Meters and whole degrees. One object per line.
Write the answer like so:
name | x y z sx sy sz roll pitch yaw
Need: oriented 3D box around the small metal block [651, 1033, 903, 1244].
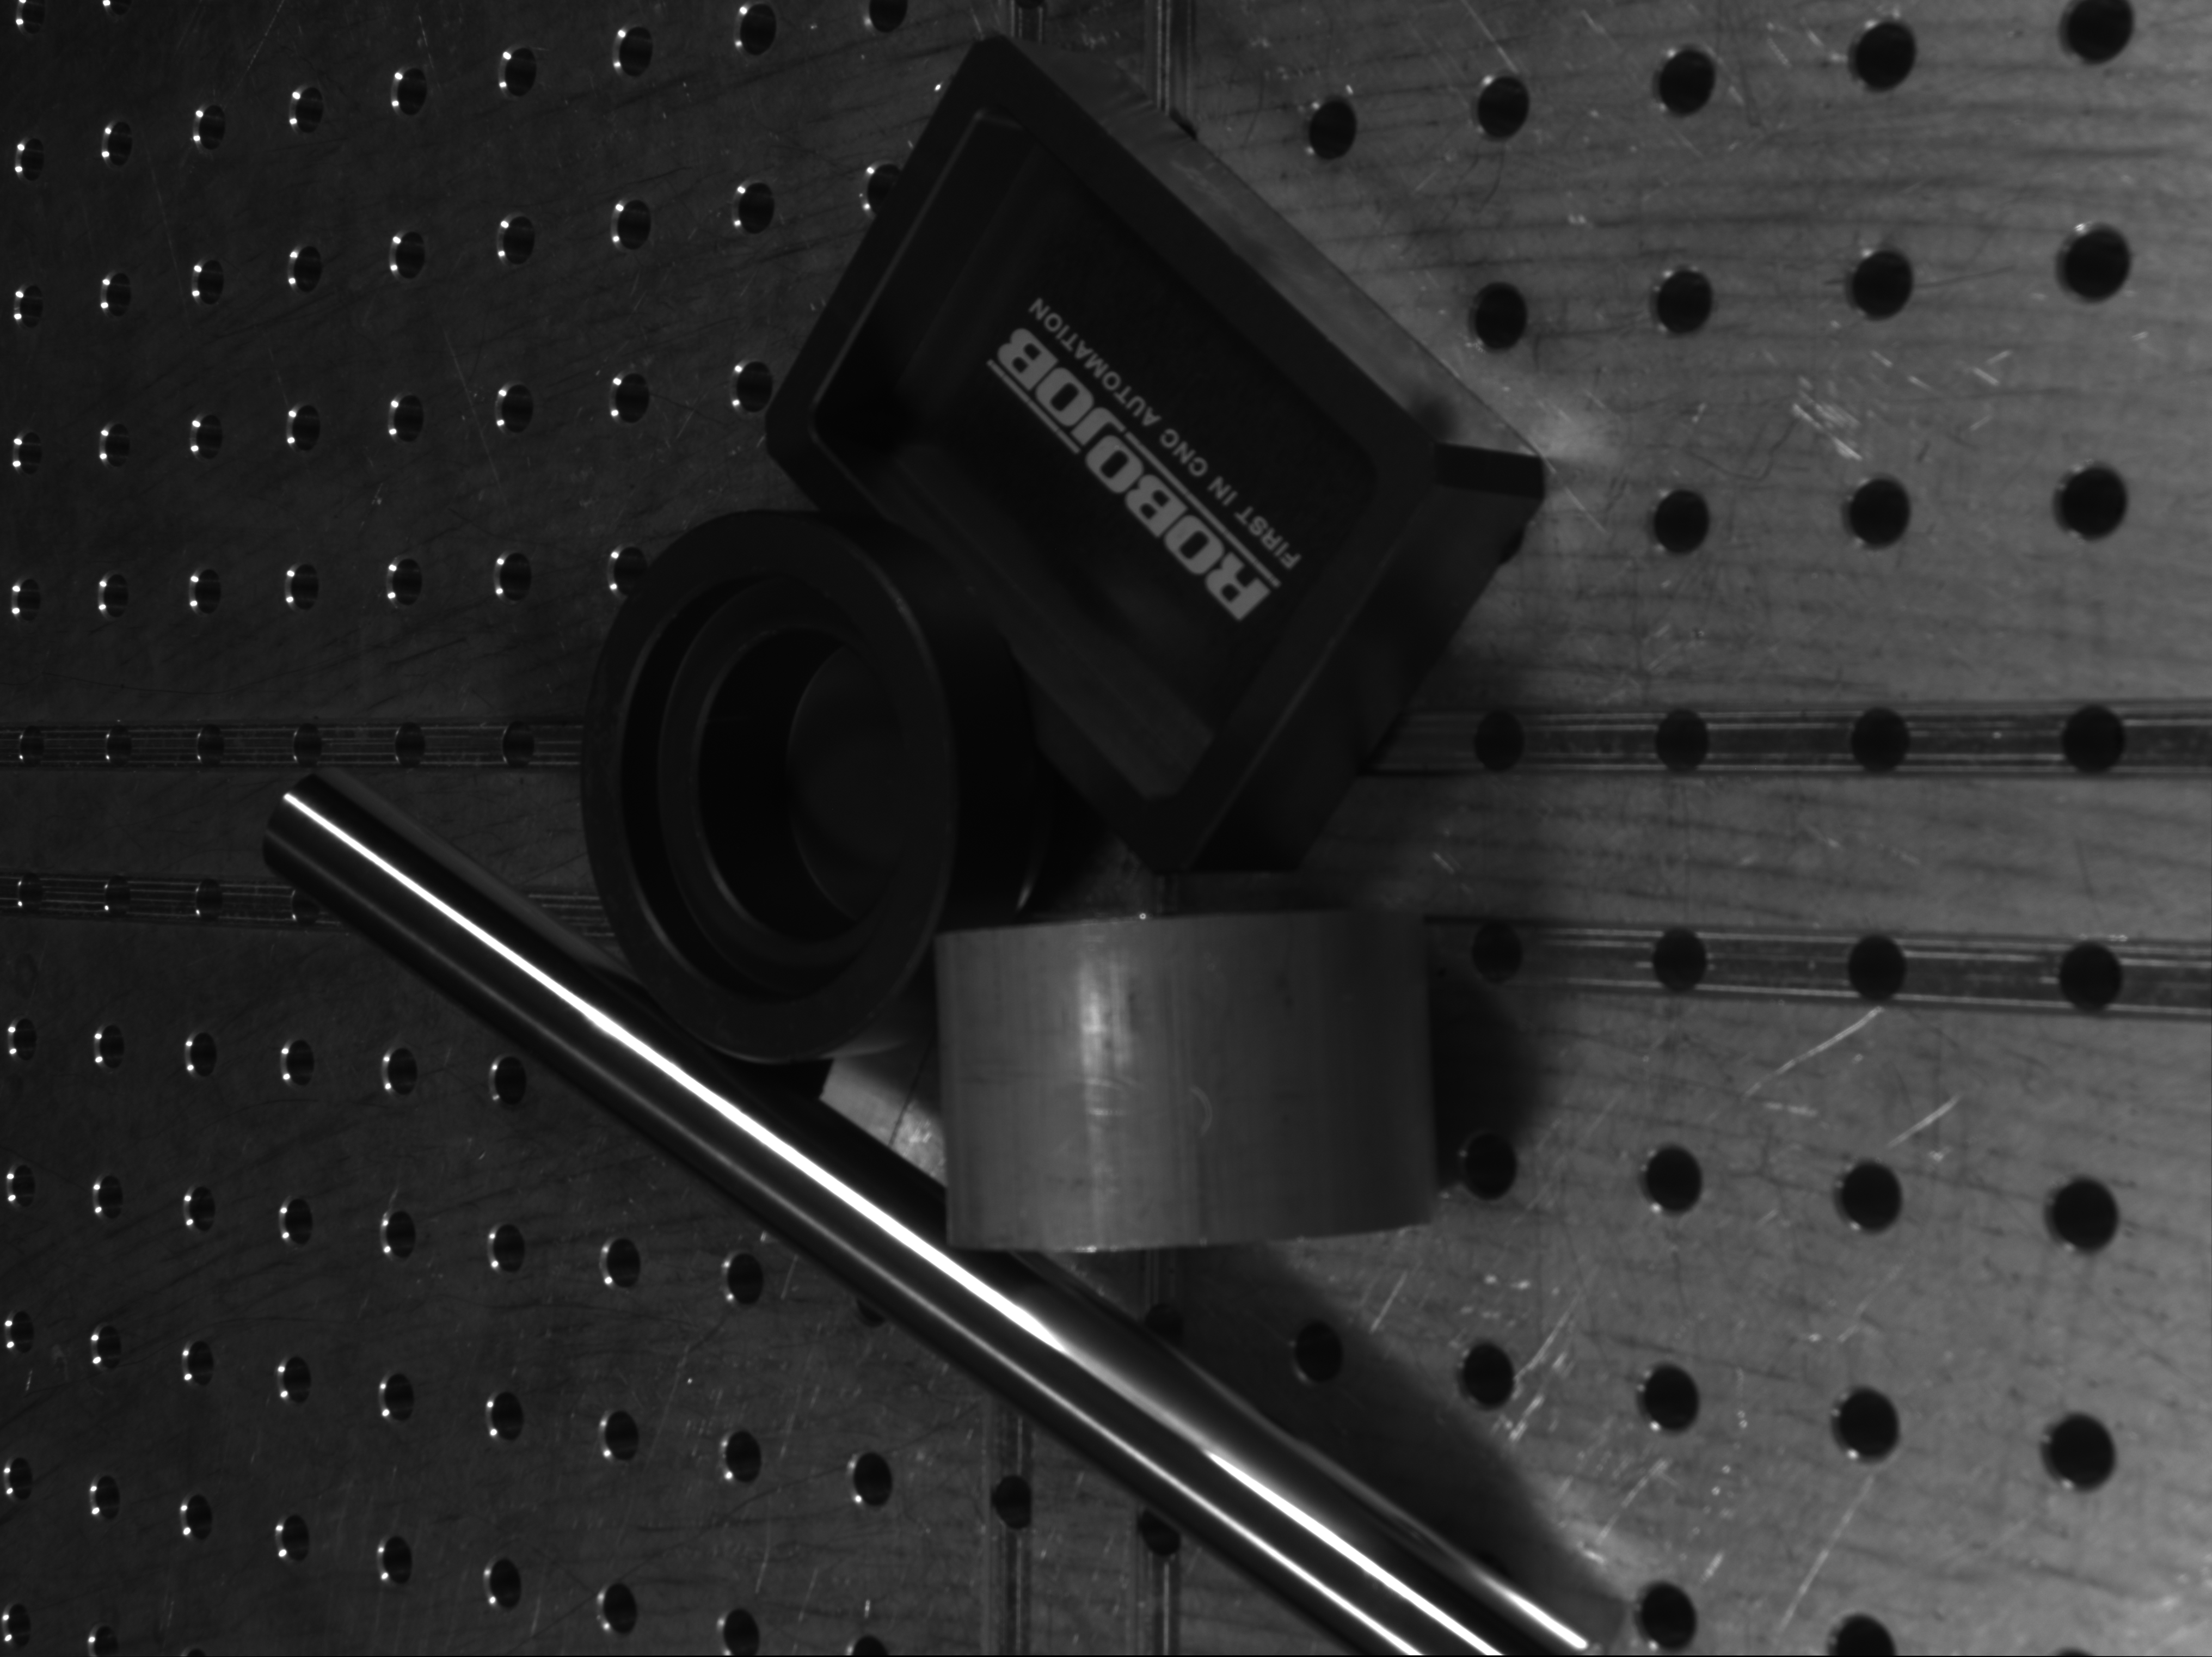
small metal block | -0.069 0.043 0.696 0.050 0.025 0.050 35 111 34

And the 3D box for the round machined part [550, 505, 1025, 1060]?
round machined part | -0.053 -0.008 0.662 0.098 0.042 0.098 0 90 41

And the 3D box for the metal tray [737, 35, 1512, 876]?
metal tray | -0.001 -0.065 0.636 0.130 0.030 0.090 47 117 29

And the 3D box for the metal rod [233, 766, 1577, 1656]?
metal rod | -0.046 0.070 0.651 0.299 0.025 0.025 32 110 26

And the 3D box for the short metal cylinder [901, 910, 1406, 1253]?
short metal cylinder | 0.008 0.041 0.596 0.080 0.080 0.050 -5 87 39
